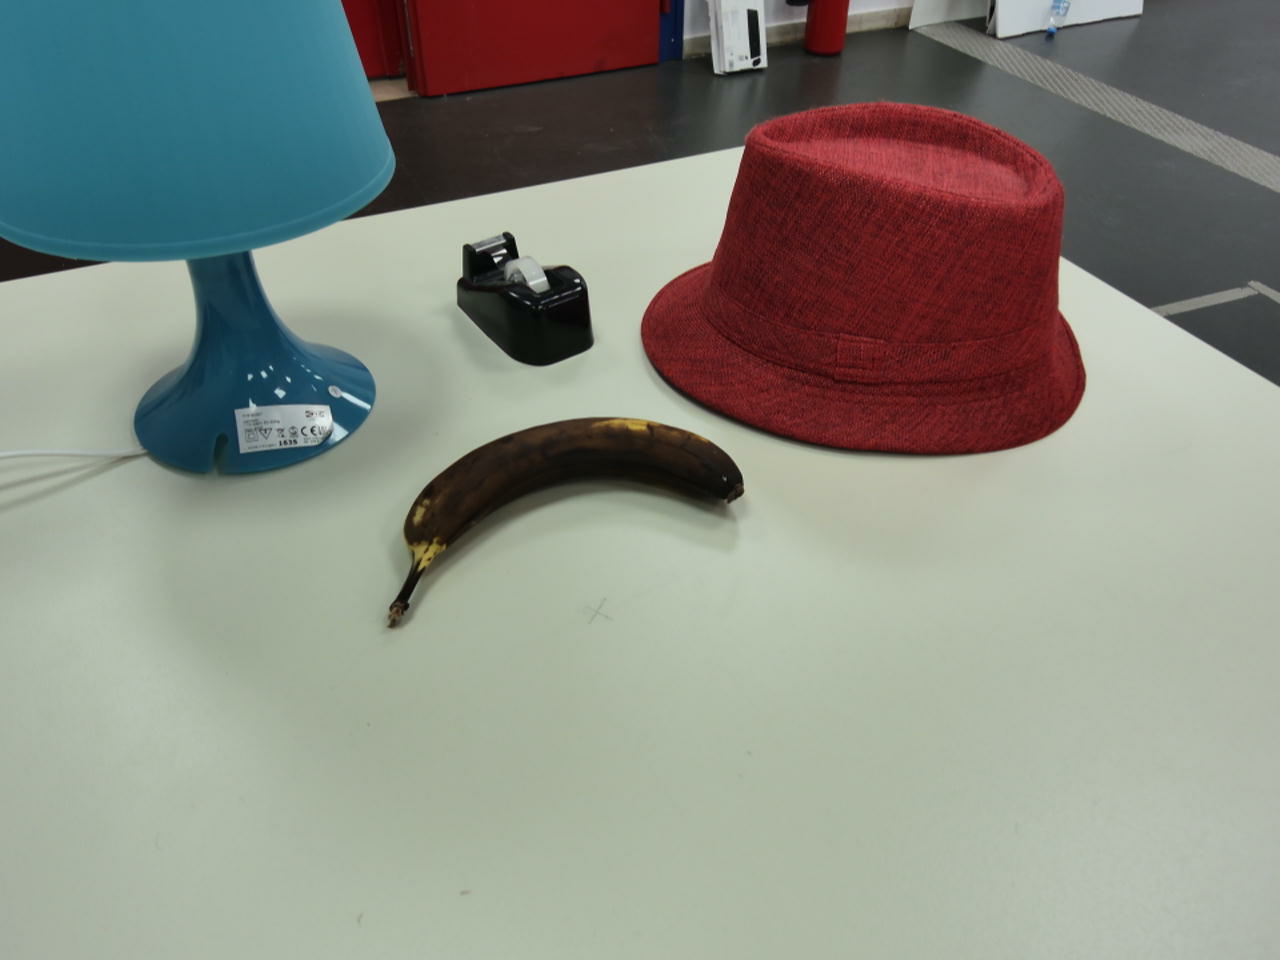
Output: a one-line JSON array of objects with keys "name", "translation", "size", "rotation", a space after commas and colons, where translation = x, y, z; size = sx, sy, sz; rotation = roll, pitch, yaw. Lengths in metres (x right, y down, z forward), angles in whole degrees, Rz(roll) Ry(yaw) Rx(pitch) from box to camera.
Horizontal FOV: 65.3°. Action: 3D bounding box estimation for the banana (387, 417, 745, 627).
[{"name": "banana", "translation": [-0.045, 0.004, 0.505], "size": [0.188, 0.034, 0.091], "rotation": [-15, 41, -19]}]
